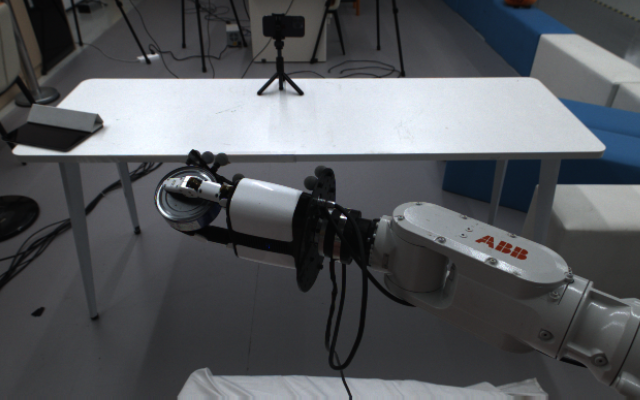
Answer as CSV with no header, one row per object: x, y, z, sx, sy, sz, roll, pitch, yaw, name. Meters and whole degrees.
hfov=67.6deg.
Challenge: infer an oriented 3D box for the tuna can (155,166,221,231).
-0.176,-0.001,0.655,0.085,0.034,0.085,-1,59,3,tuna can
